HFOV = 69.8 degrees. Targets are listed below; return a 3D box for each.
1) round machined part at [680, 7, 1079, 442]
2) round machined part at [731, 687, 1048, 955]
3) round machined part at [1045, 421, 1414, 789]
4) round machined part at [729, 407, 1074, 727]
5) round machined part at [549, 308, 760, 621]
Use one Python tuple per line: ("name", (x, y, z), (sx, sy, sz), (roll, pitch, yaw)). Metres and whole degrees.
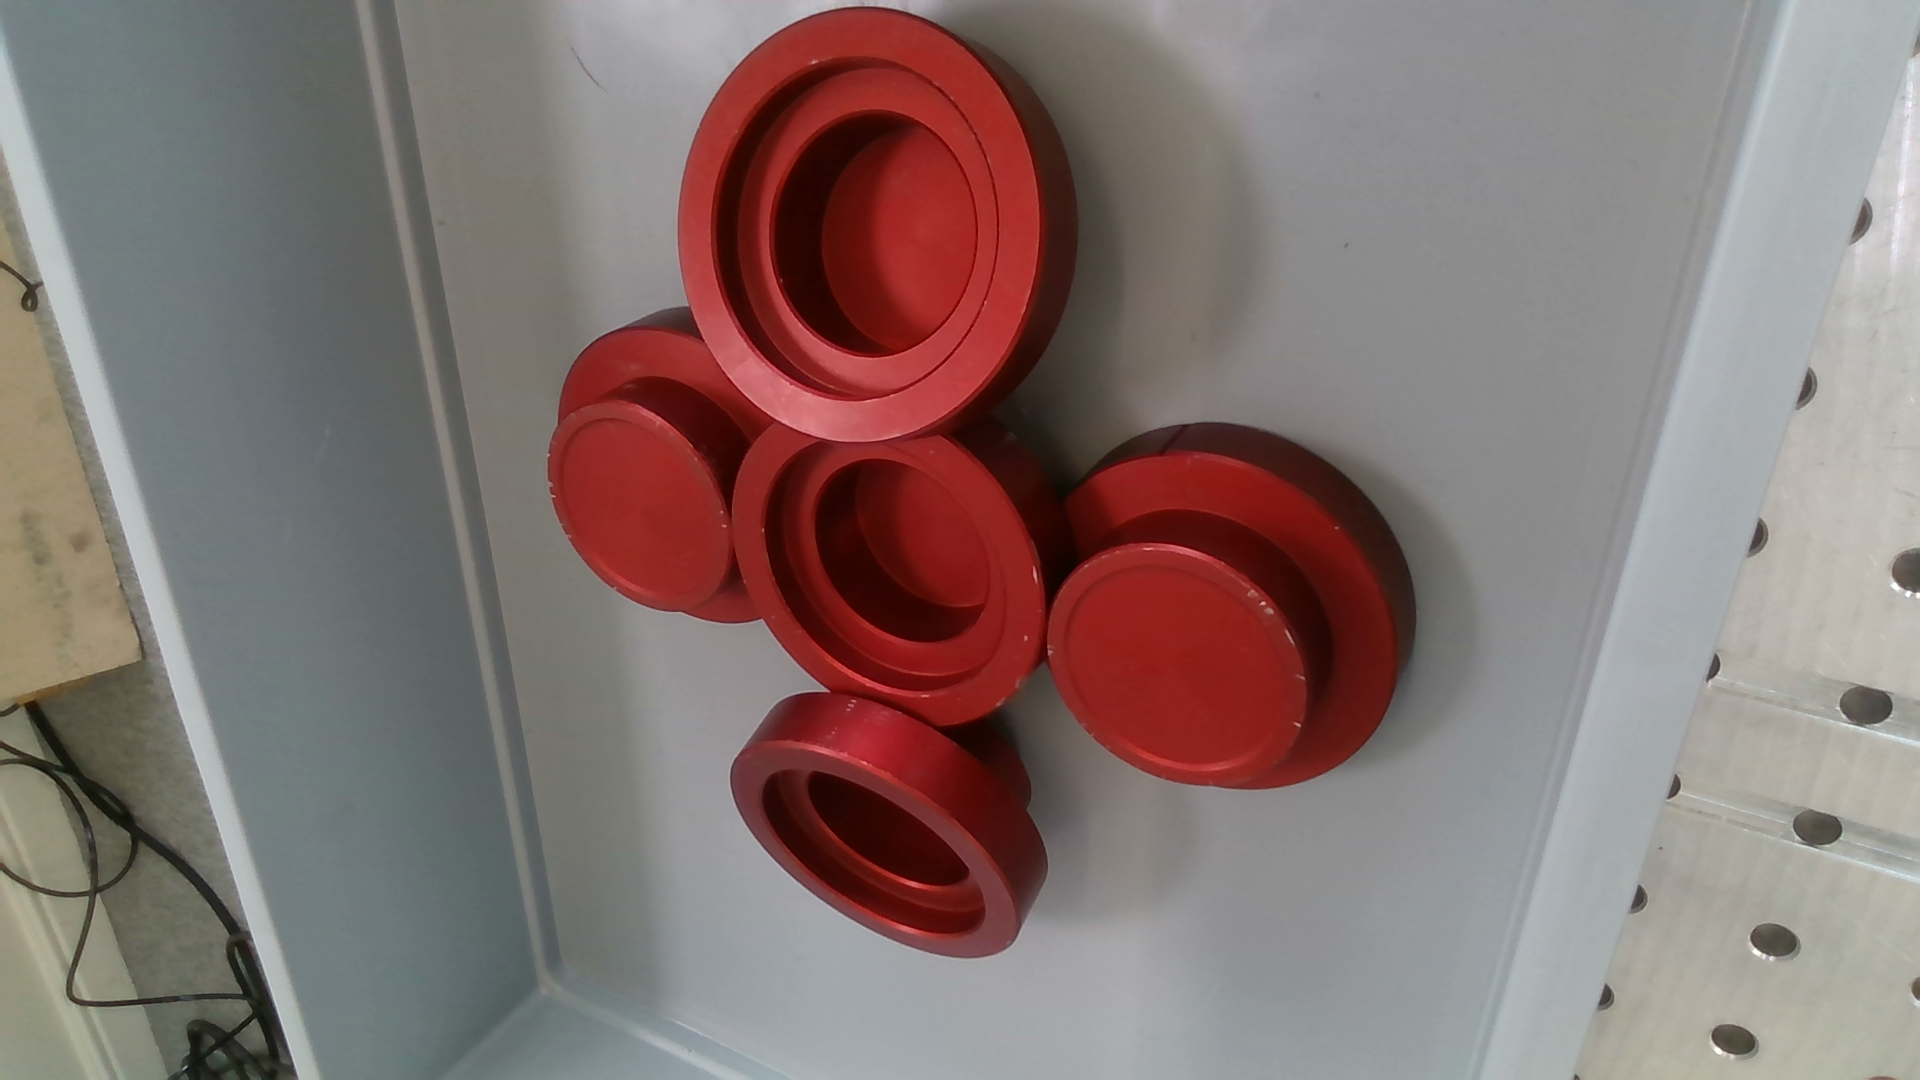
("round machined part", (-0.016, -0.074, 0.335), (0.098, 0.042, 0.098), (4, 100, 26))
("round machined part", (-0.017, 0.079, 0.420), (0.098, 0.042, 0.098), (21, 141, 18))
("round machined part", (0.061, 0.023, 0.351), (0.098, 0.042, 0.098), (15, 122, 25))
("round machined part", (-0.012, -0.001, 0.383), (0.098, 0.042, 0.098), (15, 122, 25))
("round machined part", (-0.085, -0.018, 0.419), (0.098, 0.042, 0.098), (15, 122, 25))
